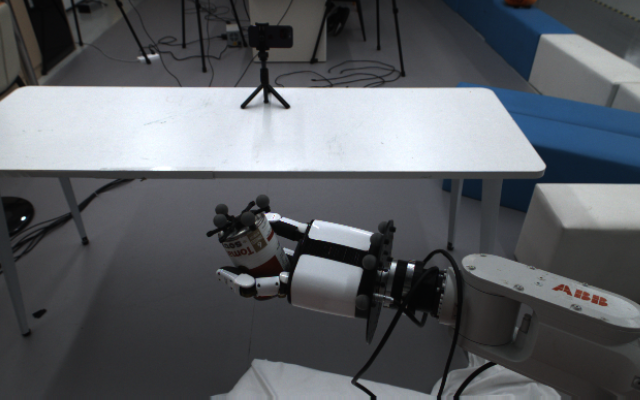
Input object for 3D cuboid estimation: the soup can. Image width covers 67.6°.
[{"bbox_3d":[-0.080,0.073,0.641,0.067,0.101,0.067,-21,24,10],"label":"soup can"}]
